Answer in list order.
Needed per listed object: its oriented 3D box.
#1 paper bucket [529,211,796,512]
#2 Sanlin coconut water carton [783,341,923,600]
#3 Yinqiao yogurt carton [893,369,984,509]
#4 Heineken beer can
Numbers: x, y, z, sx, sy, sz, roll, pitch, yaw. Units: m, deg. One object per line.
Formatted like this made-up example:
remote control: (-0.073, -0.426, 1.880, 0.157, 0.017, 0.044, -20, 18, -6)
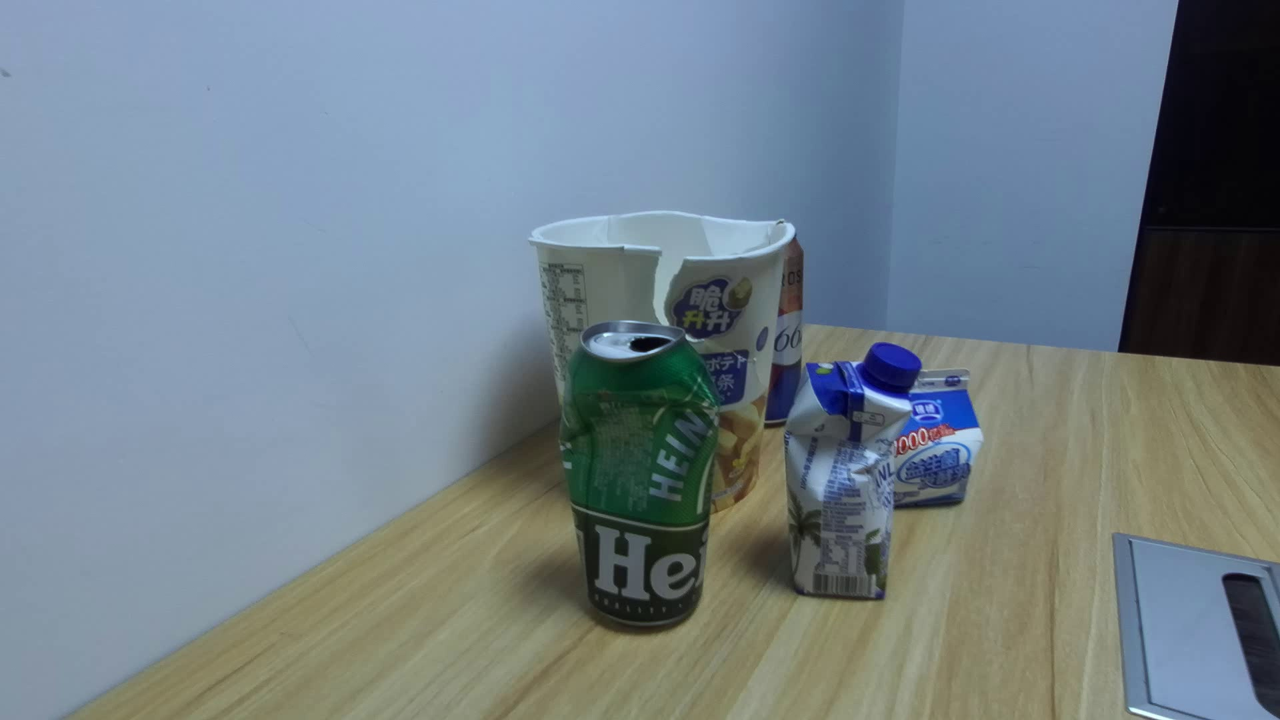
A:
paper bucket: (0.016, -0.002, 0.518, 0.201, 0.197, 0.146, 13, 25, 39)
Sanlin coconut water carton: (0.116, 0.061, 0.399, 0.070, 0.144, 0.061, 2, 21, 10)
Yinqiao yogurt carton: (0.197, 0.050, 0.502, 0.074, 0.097, 0.080, -4, 25, -5)
Heineken beer can: (-0.002, 0.062, 0.384, 0.066, 0.164, 0.077, -12, 24, -22)
